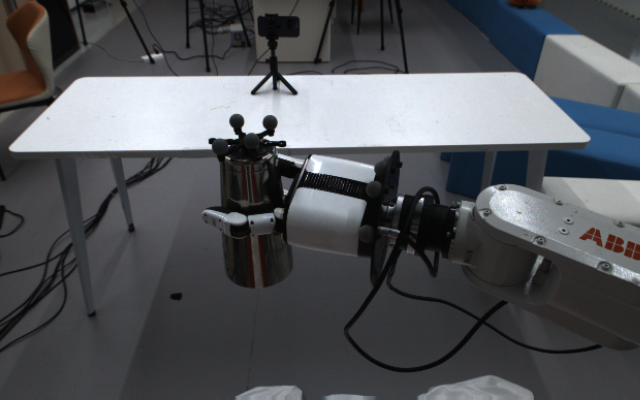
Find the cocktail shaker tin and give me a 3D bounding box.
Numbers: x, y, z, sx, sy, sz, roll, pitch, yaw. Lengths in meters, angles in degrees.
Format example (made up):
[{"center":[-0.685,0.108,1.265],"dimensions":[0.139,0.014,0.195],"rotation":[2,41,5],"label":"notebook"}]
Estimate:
[{"center":[-0.079,0.013,0.597],"dimensions":[0.093,0.170,0.093],"rotation":[0,33,0],"label":"cocktail shaker tin"}]
